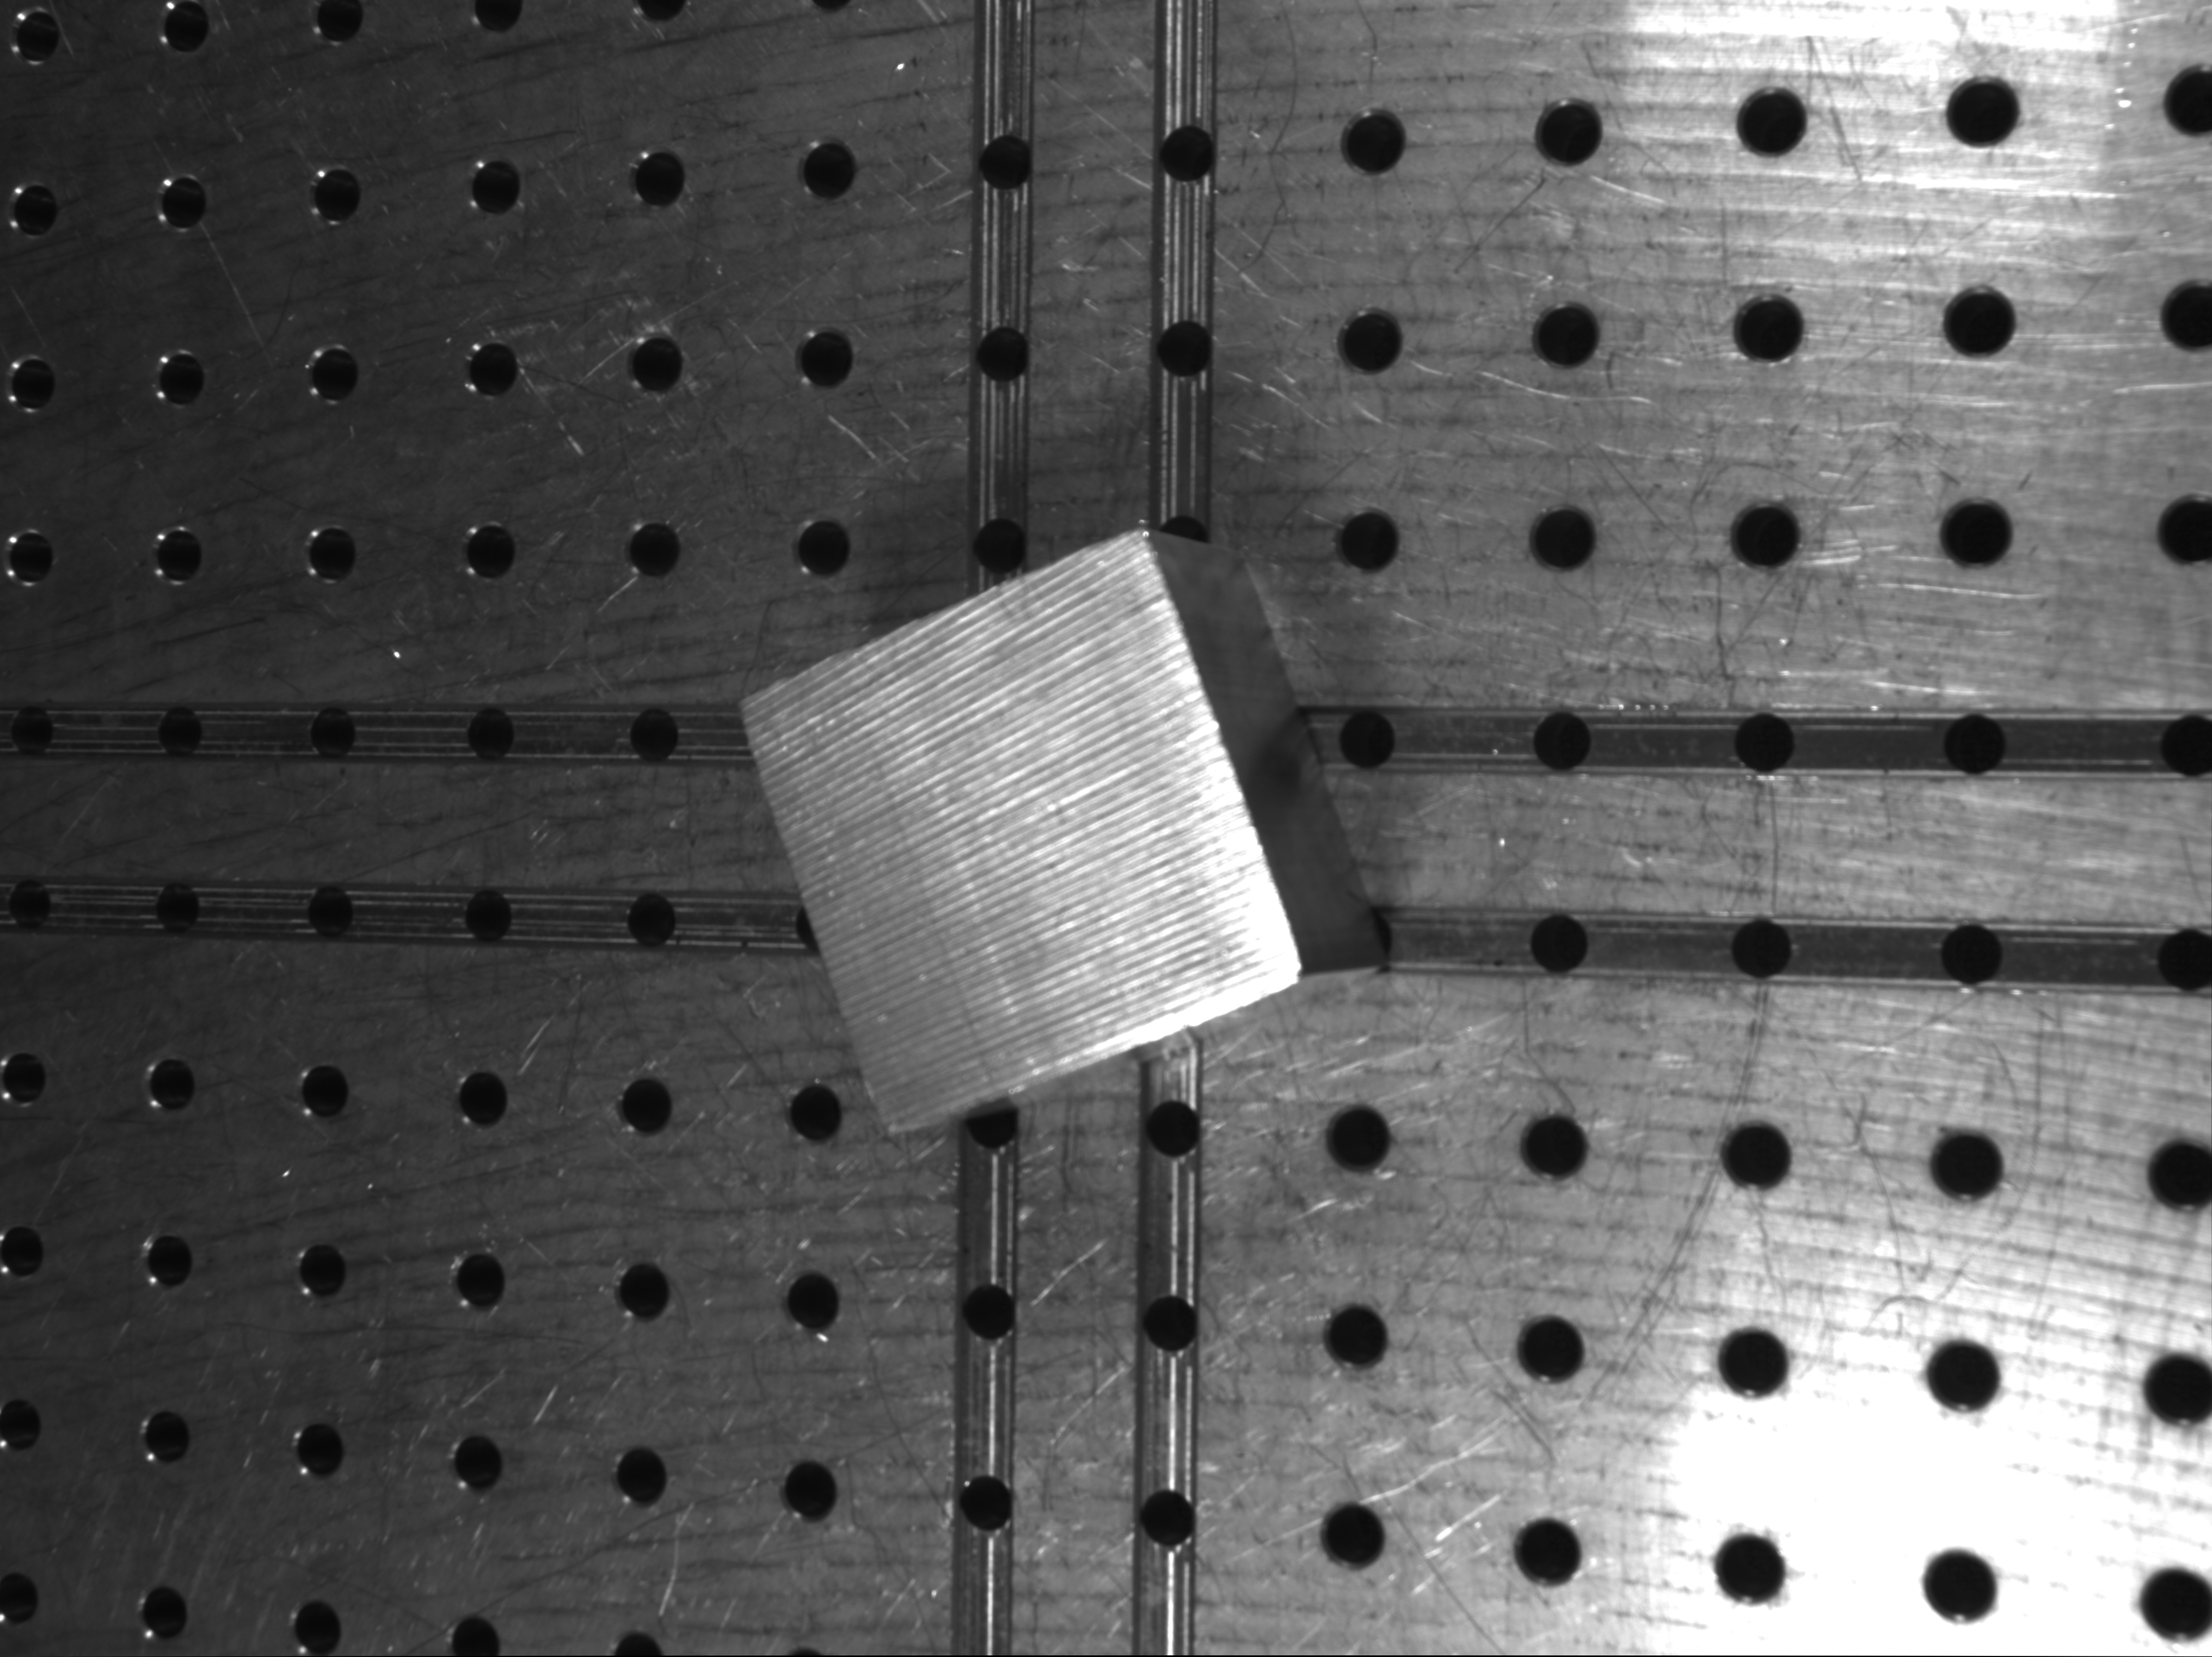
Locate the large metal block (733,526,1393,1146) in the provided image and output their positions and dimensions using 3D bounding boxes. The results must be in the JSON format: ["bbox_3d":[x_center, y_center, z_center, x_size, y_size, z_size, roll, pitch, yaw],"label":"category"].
[{"bbox_3d":[-0.007,0.002,0.633,0.080,0.050,0.080,-22,83,18],"label":"large metal block"}]
